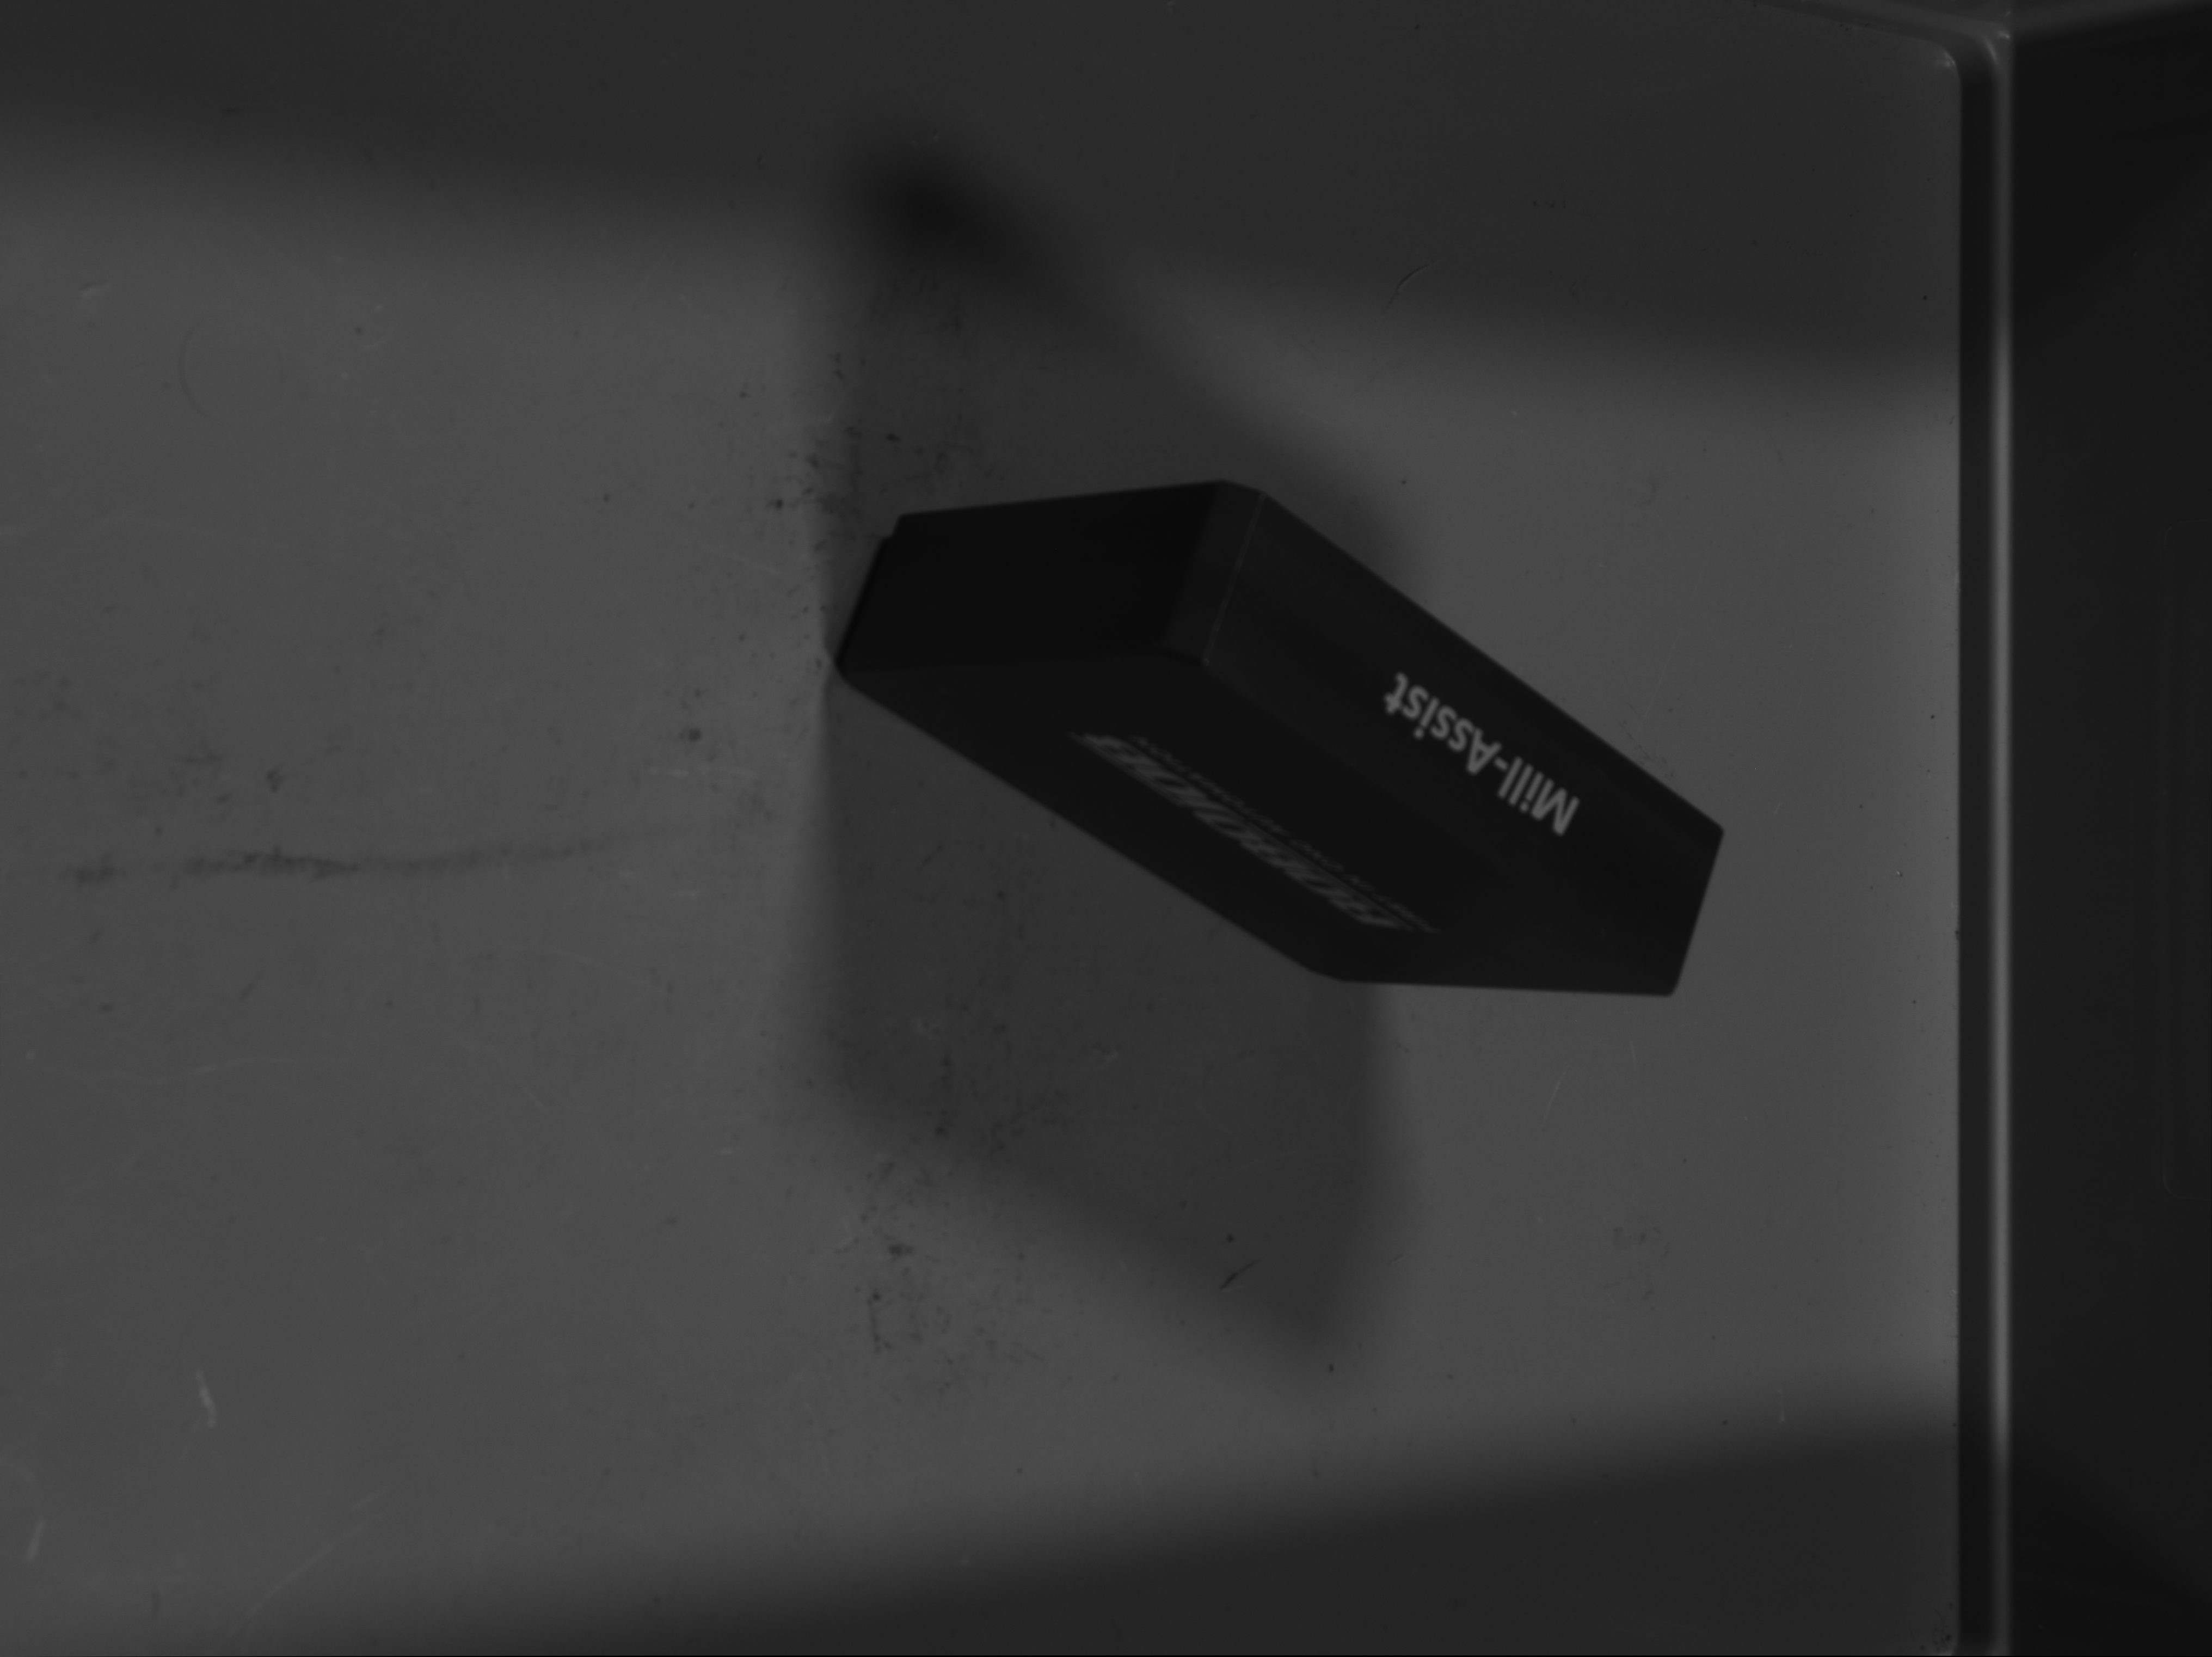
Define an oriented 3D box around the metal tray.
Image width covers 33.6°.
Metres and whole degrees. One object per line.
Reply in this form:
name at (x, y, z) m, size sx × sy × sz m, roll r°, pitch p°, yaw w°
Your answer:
metal tray at (0.038, -0.012, 0.623) m, size 0.130 × 0.090 × 0.030 m, roll 32°, pitch 70°, yaw -36°
